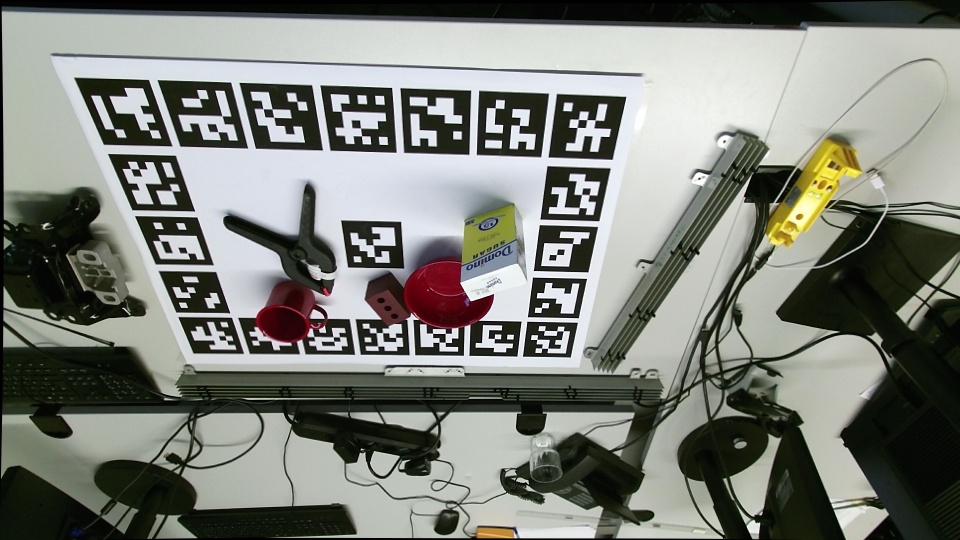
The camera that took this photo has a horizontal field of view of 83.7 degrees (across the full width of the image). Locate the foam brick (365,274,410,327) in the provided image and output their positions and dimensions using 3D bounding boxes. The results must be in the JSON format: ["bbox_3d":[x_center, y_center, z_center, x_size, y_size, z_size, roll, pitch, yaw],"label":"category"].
[{"bbox_3d":[-0.169,0.056,0.989,0.053,0.051,0.078,-23,122,13],"label":"foam brick"}]

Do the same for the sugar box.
[{"bbox_3d":[0.028,-0.034,0.848,0.093,0.176,0.045,-20,121,13],"label":"sugar box"}]

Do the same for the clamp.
[{"bbox_3d":[-0.303,-0.026,0.922,0.166,0.036,0.203,-20,123,10],"label":"clamp"}]

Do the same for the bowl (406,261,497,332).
[{"bbox_3d":[-0.051,0.040,0.972,0.162,0.055,0.161,0,125,0],"label":"bowl"}]

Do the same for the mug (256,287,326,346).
[{"bbox_3d":[-0.339,0.089,0.979,0.117,0.081,0.093,24,121,-14],"label":"mug"}]
